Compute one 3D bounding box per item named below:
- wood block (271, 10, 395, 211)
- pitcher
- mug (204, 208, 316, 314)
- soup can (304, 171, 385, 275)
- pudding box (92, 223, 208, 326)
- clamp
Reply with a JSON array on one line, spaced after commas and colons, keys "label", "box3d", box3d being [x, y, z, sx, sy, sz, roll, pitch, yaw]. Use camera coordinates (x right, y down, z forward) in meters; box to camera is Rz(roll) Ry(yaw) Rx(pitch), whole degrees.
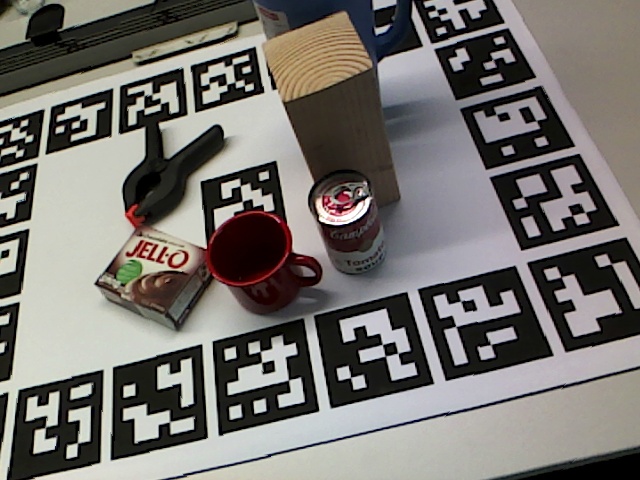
[{"label": "wood block", "box3d": [0.020, -0.120, 0.654, 0.090, 0.205, 0.091, -15, 55, 2]}, {"label": "pitcher", "box3d": [0.023, -0.232, 0.709, 0.189, 0.241, 0.134, -16, 52, 8]}, {"label": "mug", "box3d": [-0.056, 0.030, 0.656, 0.118, 0.081, 0.093, 17, 61, 26]}, {"label": "soup can", "box3d": [0.028, -0.015, 0.647, 0.068, 0.101, 0.068, -7, 58, 11]}, {"label": "pudding box", "box3d": [-0.194, 0.039, 0.719, 0.114, 0.038, 0.090, 19, 68, 27]}, {"label": "clamp", "box3d": [-0.195, -0.094, 0.814, 0.122, 0.036, 0.165, 14, 63, 16]}]
